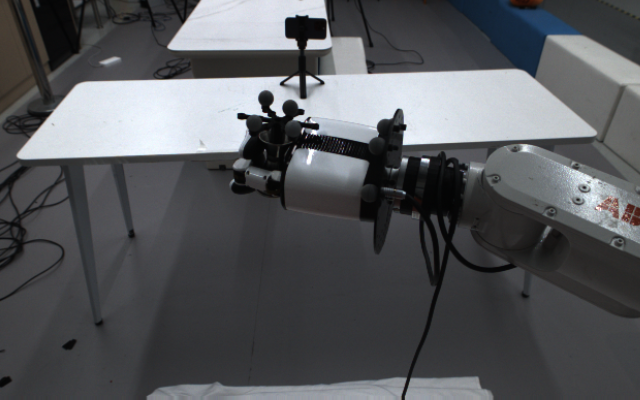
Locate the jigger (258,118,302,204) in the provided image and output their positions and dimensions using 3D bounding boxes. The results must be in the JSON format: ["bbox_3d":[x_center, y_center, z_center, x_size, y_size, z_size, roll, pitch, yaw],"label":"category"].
[{"bbox_3d":[-0.049,-0.041,0.554,0.043,0.071,0.043,6,32,-4],"label":"jigger"}]
